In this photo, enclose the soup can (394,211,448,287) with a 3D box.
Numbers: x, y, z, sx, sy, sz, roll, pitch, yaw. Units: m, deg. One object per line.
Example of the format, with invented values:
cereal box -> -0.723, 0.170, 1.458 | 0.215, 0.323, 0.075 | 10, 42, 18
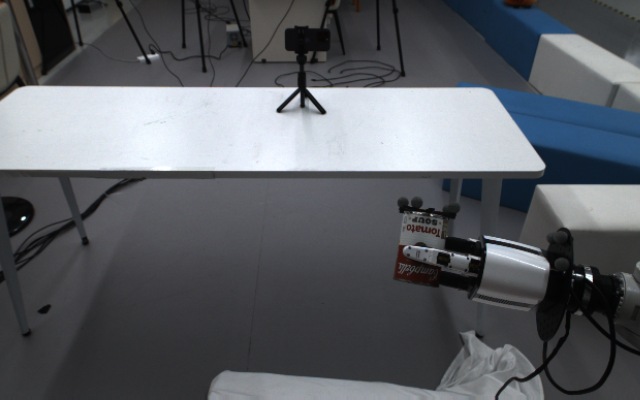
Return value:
soup can -> 0.150, 0.070, 0.712 | 0.067, 0.101, 0.067 | 9, -5, 1
